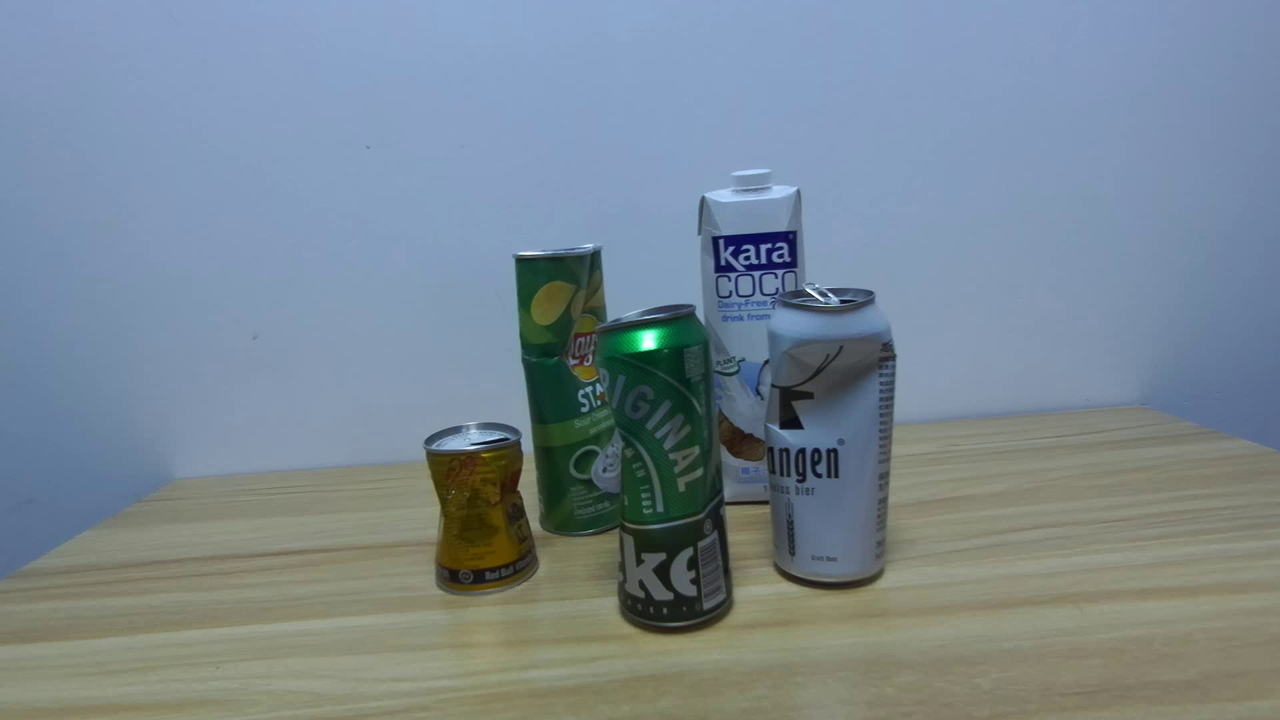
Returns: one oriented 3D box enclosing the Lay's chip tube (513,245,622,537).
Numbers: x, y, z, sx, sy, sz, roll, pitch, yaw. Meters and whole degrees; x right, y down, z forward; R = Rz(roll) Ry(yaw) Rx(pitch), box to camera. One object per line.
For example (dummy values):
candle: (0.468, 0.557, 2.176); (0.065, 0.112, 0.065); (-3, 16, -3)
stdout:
Lay's chip tube: (-0.049, 0.021, 0.516); (0.069, 0.199, 0.074); (-7, 12, -11)

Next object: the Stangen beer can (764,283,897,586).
Stangen beer can: (0.109, 0.043, 0.411); (0.070, 0.173, 0.070); (-11, 14, -36)

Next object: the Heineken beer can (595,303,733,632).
Heineken beer can: (0.012, 0.059, 0.387); (0.069, 0.168, 0.069); (-11, 8, -28)

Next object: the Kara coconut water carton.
Kara coconut water carton: (0.089, -0.020, 0.541); (0.077, 0.245, 0.075); (-3, 14, 7)

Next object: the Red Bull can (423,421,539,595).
Red Bull can: (-0.101, 0.092, 0.447); (0.072, 0.092, 0.072); (-3, 10, 1)
